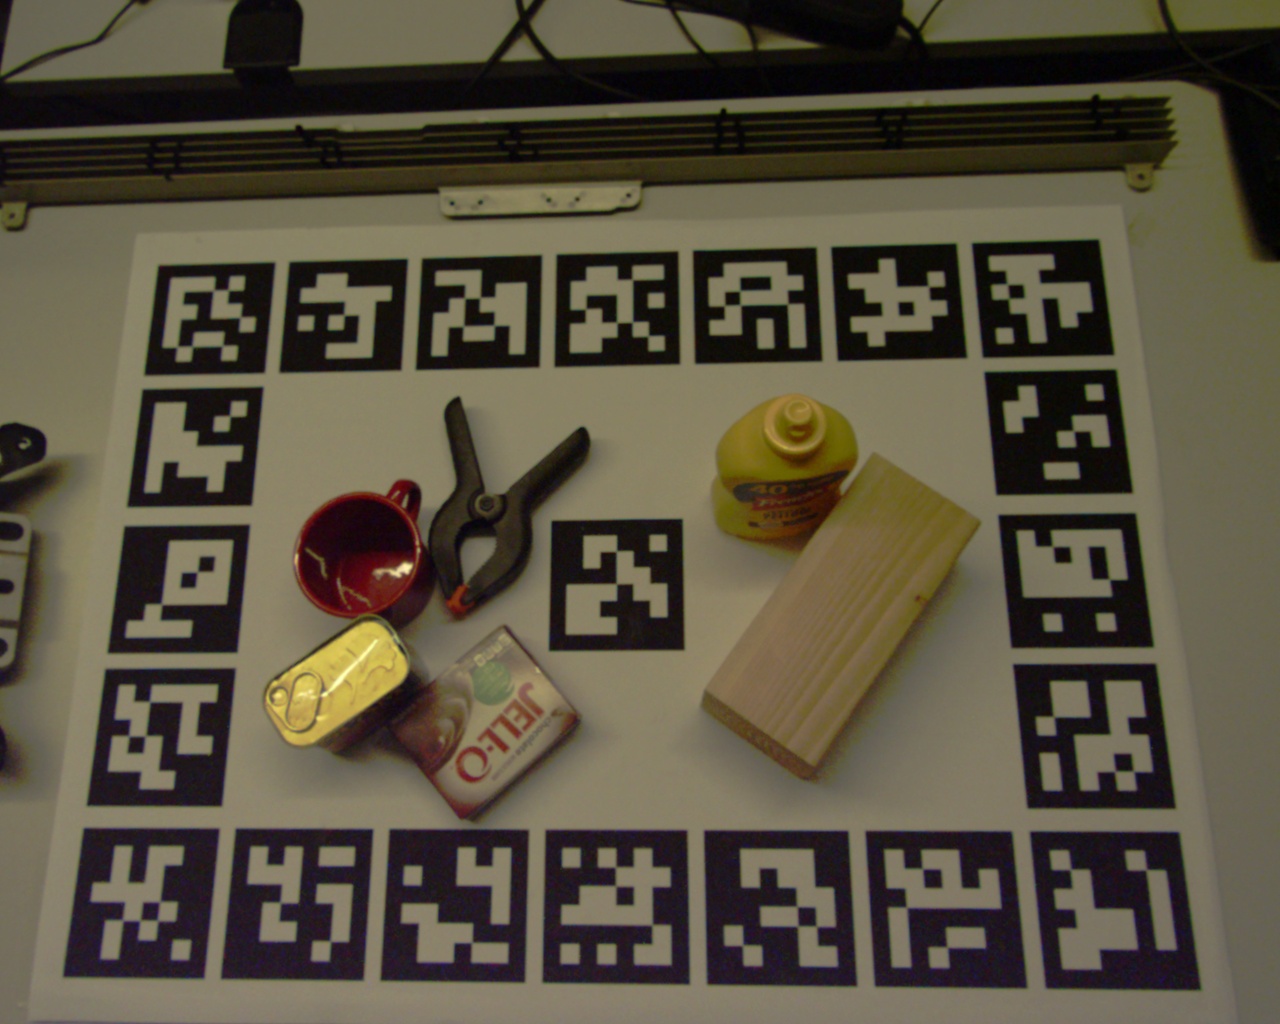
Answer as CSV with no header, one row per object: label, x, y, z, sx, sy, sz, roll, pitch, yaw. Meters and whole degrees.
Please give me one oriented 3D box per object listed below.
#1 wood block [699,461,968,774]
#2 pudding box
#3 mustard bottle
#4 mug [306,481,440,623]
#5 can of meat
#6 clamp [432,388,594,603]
wood block,0.139,0.078,0.837,0.090,0.090,0.206,35,77,13
pudding box,-0.111,0.154,0.853,0.113,0.038,0.090,-40,76,-9
mustard bottle,0.094,-0.036,0.814,0.096,0.191,0.058,-6,75,1
mug,-0.199,0.031,0.894,0.094,0.081,0.117,20,78,8
can of meat,-0.210,0.128,0.838,0.101,0.083,0.058,-31,77,-6
clamp,-0.117,-0.008,0.905,0.122,0.036,0.165,18,78,6
